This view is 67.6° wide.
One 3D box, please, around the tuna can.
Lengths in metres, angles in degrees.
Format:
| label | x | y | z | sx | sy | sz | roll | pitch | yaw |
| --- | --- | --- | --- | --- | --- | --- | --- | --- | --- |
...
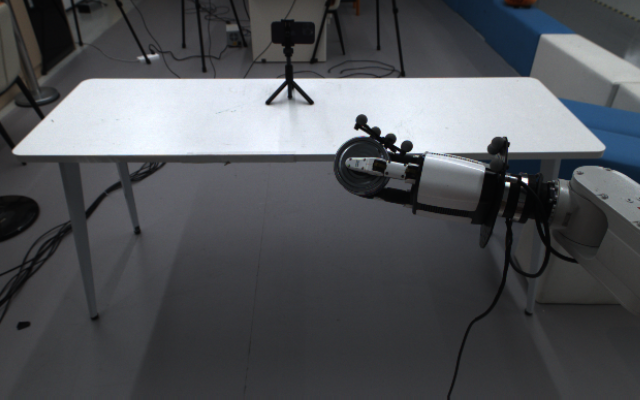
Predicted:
| label | x | y | z | sx | sy | sz | roll | pitch | yaw |
| --- | --- | --- | --- | --- | --- | --- | --- | --- | --- |
| tuna can | 0.067 | -0.045 | 0.718 | 0.085 | 0.085 | 0.034 | 13 | -4 | 15 |
